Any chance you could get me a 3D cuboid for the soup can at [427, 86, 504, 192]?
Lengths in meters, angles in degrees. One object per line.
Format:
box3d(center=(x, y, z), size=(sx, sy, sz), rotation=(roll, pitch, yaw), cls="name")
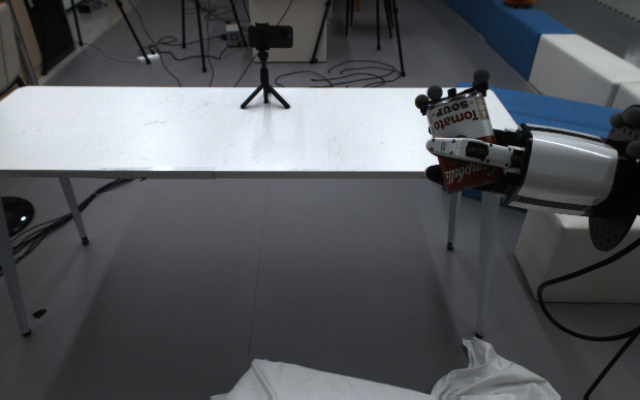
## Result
box3d(center=(0.167, -0.065, 0.558), size=(0.067, 0.101, 0.067), rotation=(-14, -2, -1), cls="soup can")
